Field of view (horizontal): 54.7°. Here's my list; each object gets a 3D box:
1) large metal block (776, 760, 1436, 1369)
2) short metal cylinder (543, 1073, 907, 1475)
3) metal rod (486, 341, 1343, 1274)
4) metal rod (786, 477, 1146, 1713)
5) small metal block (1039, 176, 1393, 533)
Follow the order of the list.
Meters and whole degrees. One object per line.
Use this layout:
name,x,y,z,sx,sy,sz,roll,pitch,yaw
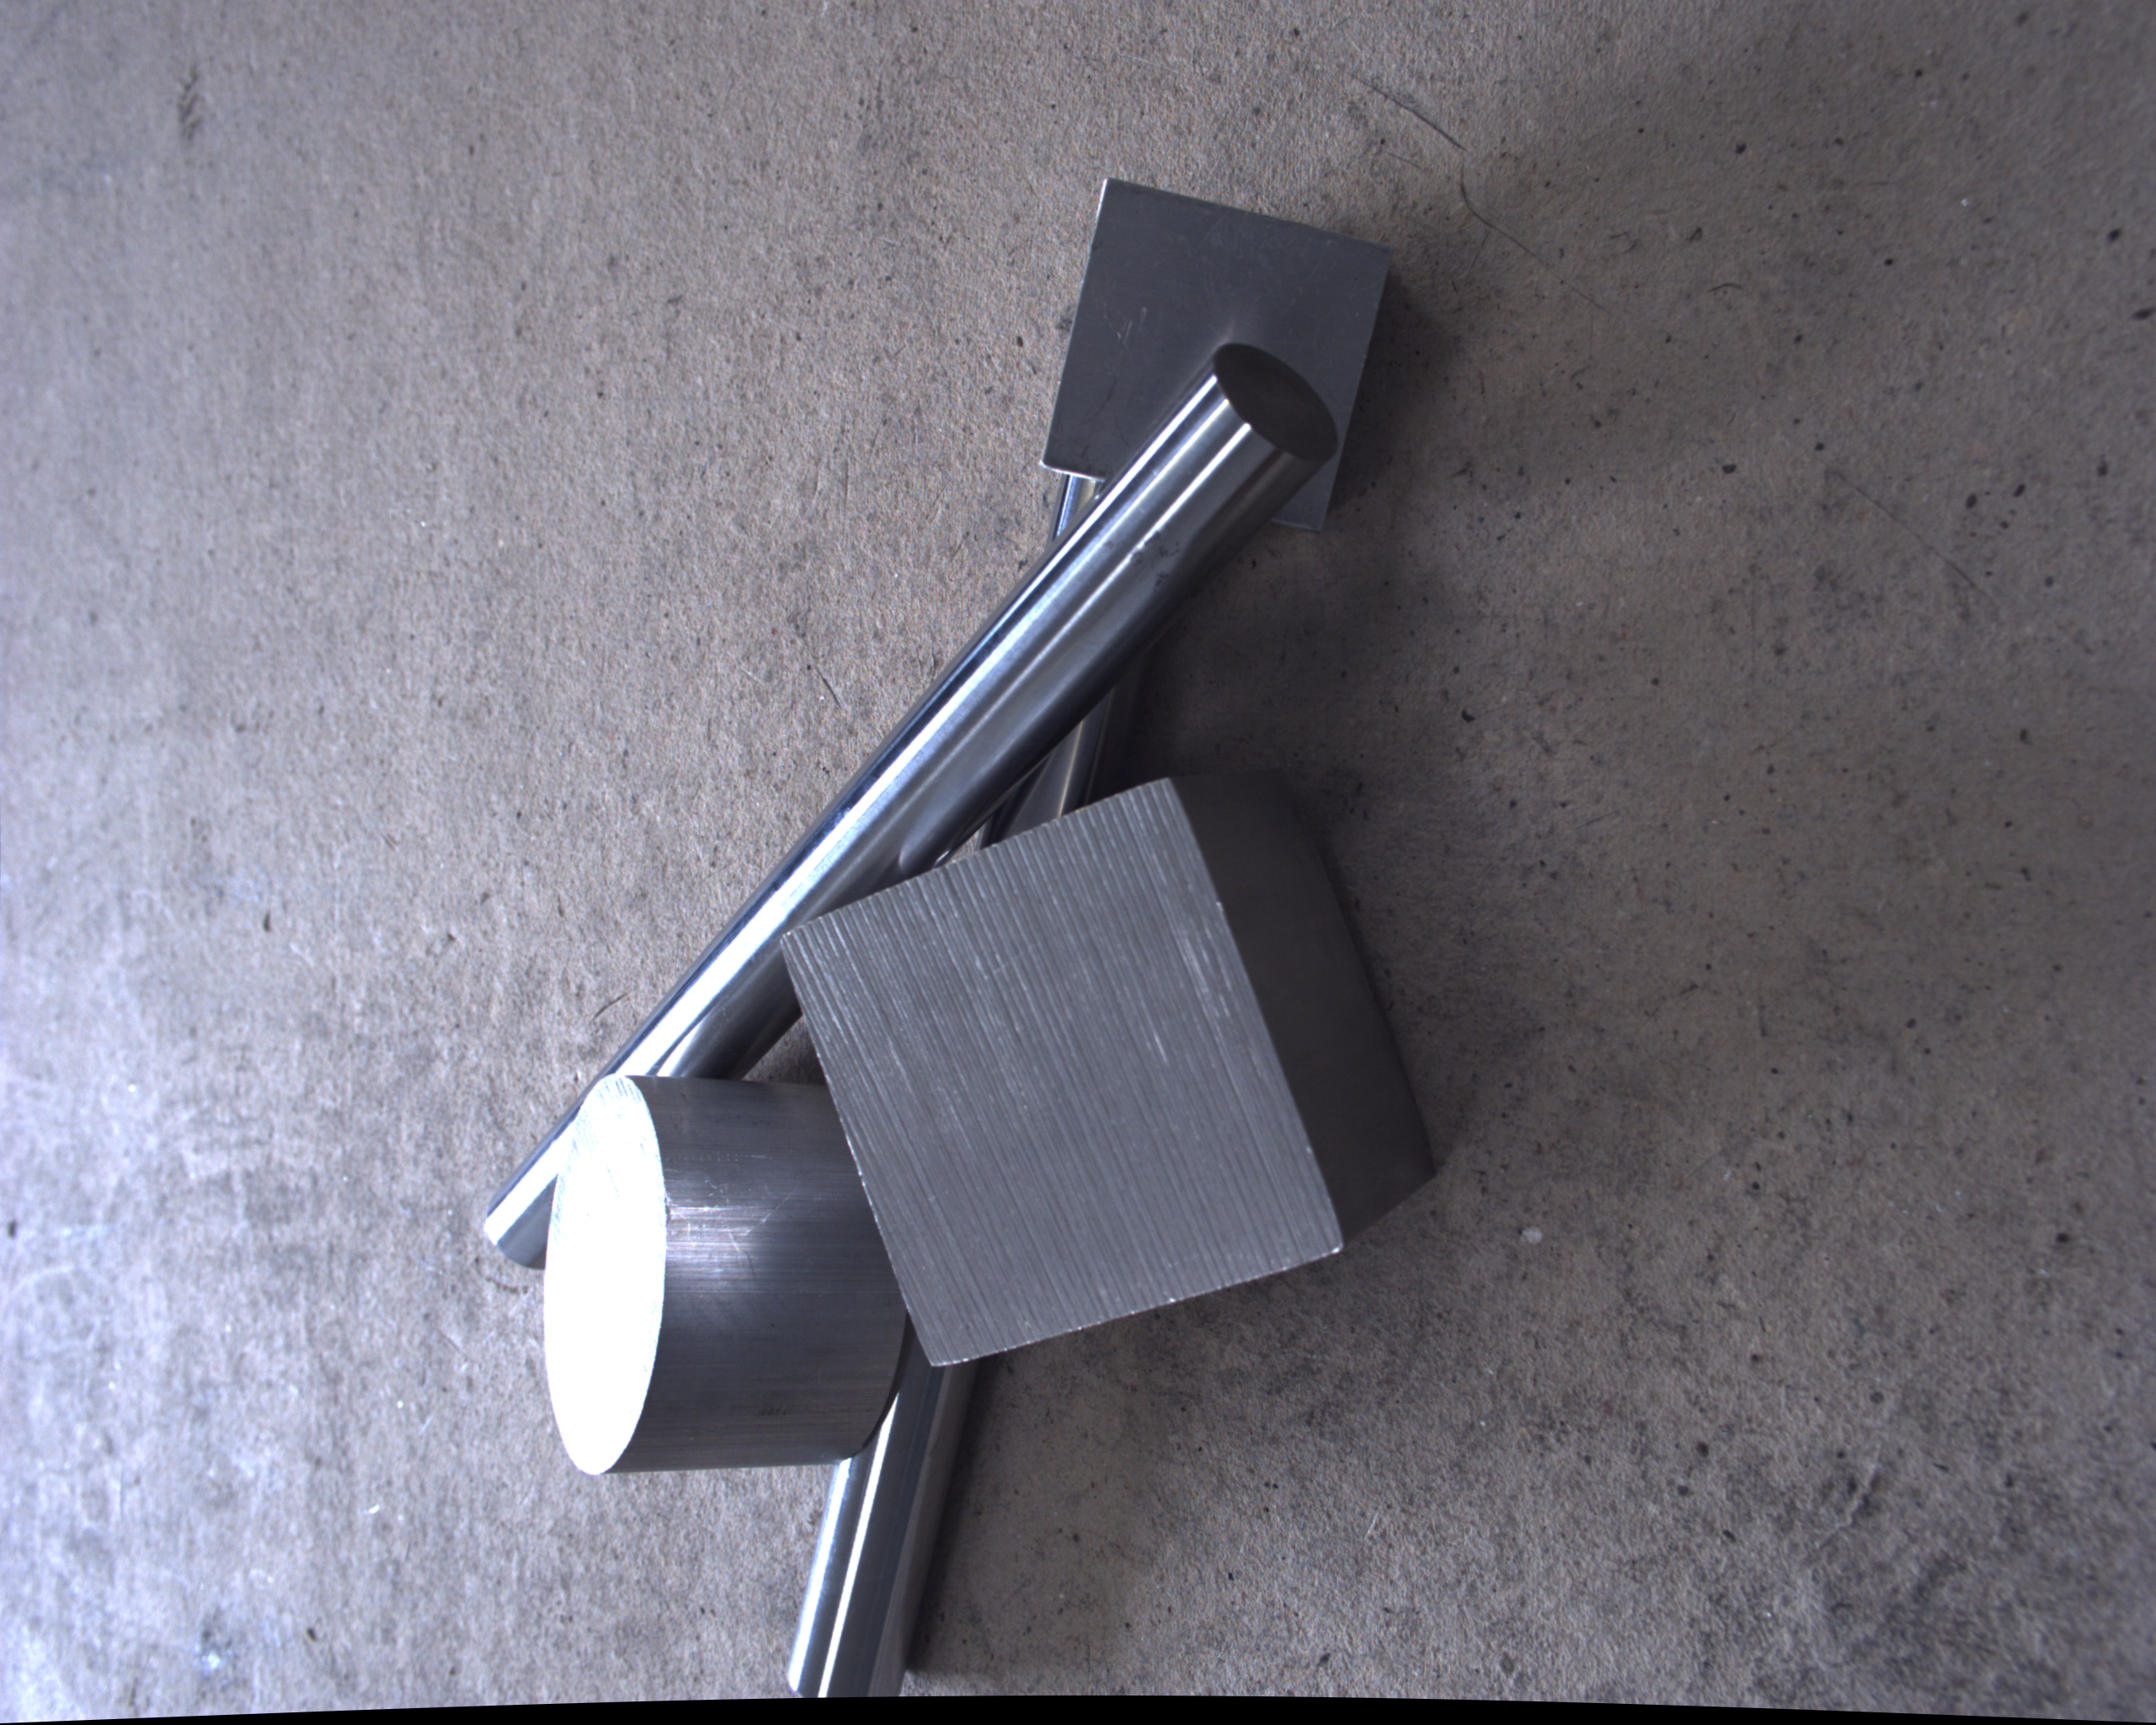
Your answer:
large metal block,0.005,0.034,0.366,0.080,0.050,0.080,-22,85,25
short metal cylinder,-0.075,0.085,0.435,0.080,0.050,0.080,-20,66,57
metal rod,-0.051,0.008,0.426,0.298,0.025,0.025,-45,63,38
metal rod,-0.016,0.032,0.419,0.025,0.025,0.298,22,104,38
small metal block,0.024,-0.089,0.371,0.050,0.025,0.050,13,100,-1
